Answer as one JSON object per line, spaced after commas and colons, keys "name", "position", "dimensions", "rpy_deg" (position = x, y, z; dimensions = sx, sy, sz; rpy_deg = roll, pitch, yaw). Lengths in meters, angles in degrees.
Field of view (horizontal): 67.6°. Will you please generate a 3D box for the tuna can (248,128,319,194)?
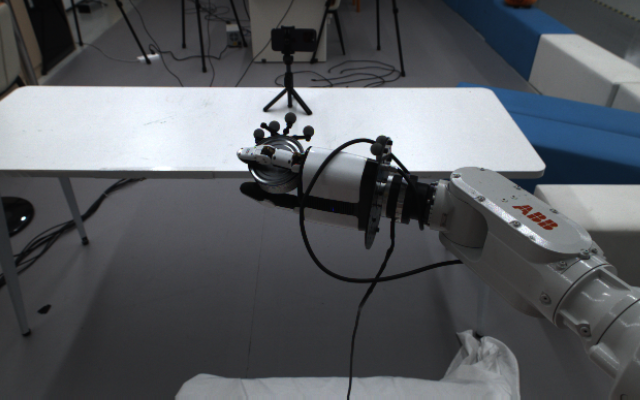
{"name": "tuna can", "position": [-0.062, -0.052, 0.720], "dimensions": [0.085, 0.034, 0.085], "rpy_deg": [-6, 61, 10]}
